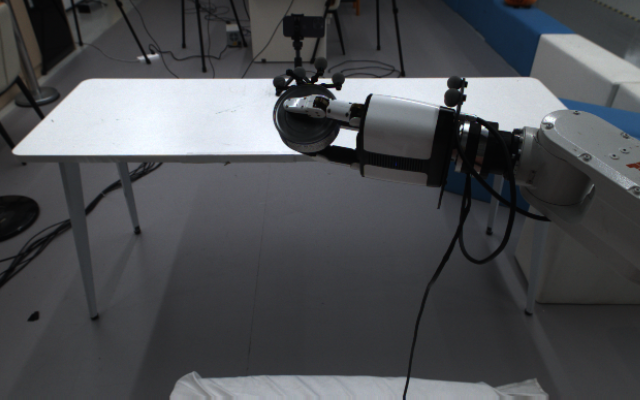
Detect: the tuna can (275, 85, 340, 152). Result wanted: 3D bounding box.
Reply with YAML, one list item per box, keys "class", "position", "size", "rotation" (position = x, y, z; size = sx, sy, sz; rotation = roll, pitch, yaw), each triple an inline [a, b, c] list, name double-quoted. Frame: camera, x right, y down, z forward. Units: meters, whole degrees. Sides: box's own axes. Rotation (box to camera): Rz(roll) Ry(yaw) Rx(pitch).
- class: "tuna can"
  position: [-0.014, -0.101, 0.625]
  size: [0.085, 0.034, 0.085]
  rotation: [-2, 69, 6]
